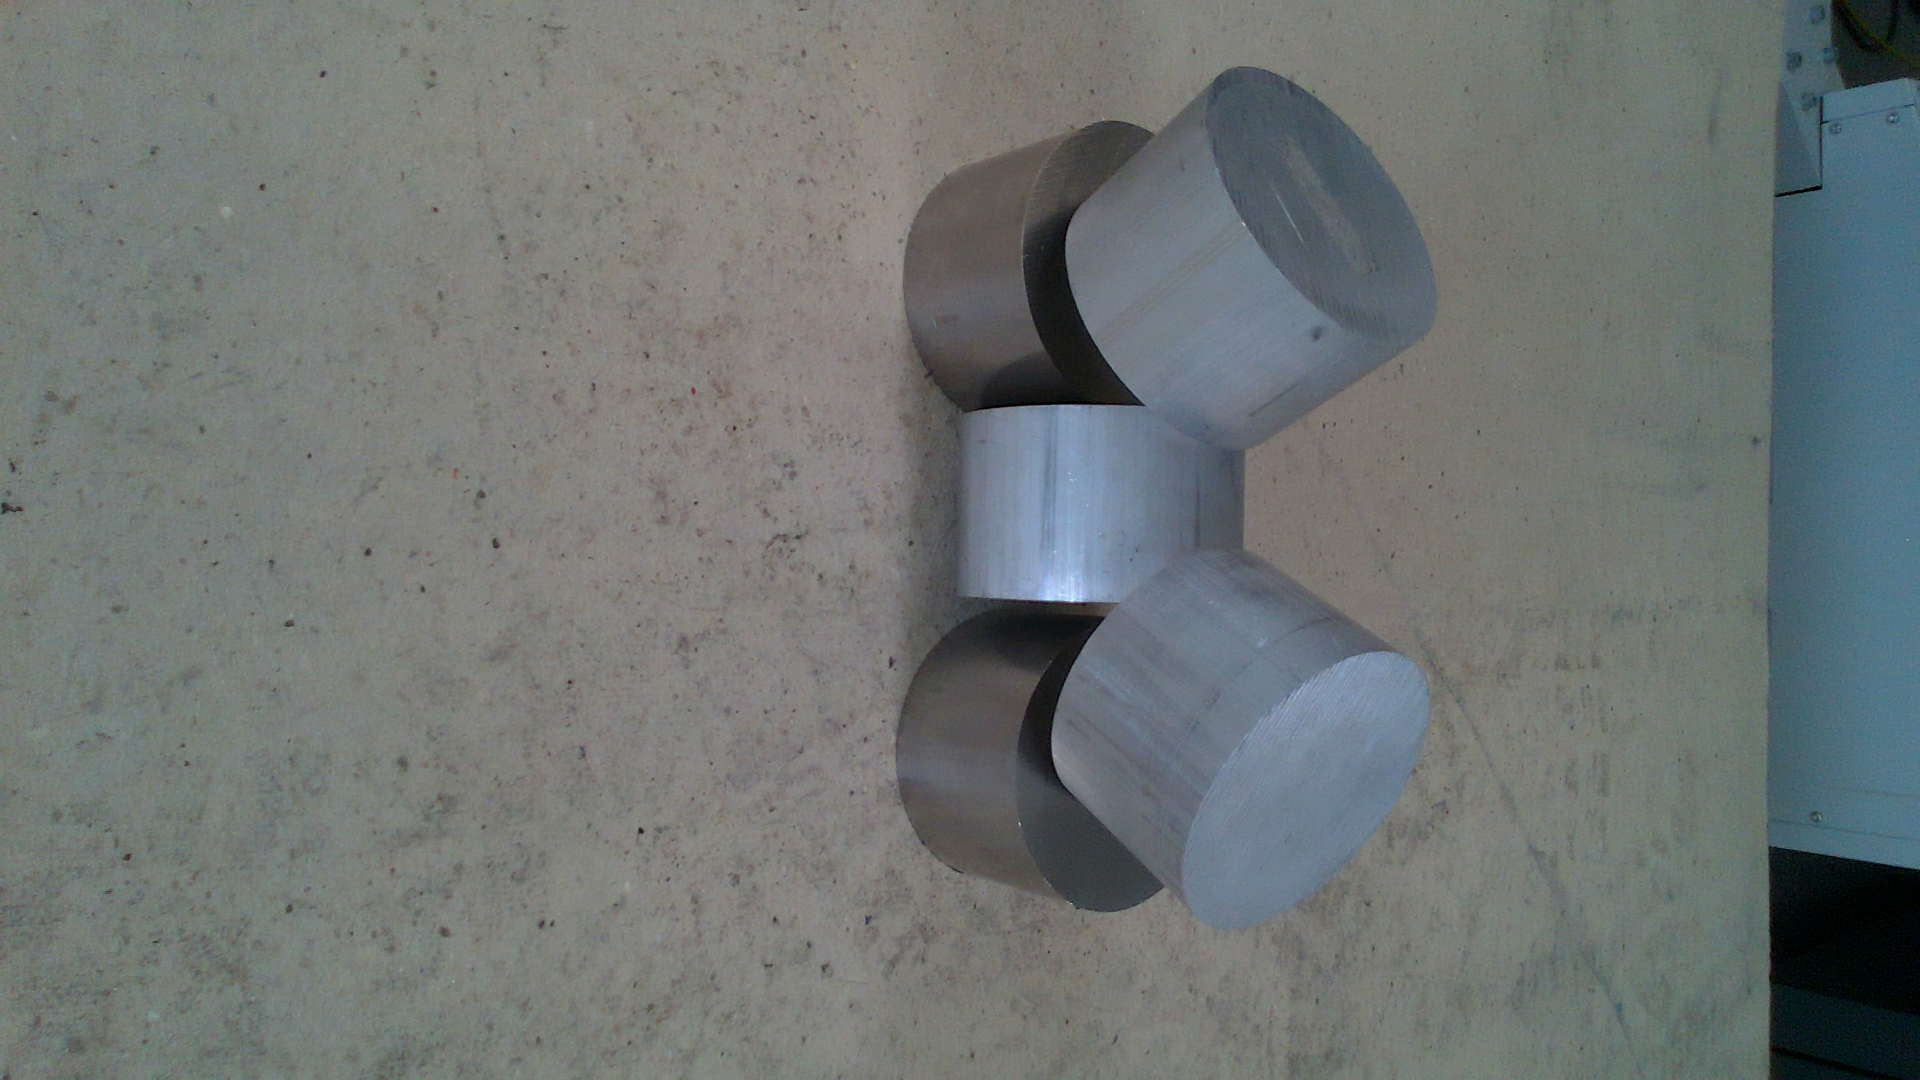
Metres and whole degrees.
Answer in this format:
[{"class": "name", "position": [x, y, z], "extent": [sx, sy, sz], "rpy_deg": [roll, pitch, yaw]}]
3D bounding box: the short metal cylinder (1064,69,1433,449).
[{"class": "short metal cylinder", "position": [0.073, -0.070, 0.350], "extent": [0.080, 0.050, 0.080], "rpy_deg": [21, 52, -30]}]

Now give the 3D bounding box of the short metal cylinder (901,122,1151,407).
[{"class": "short metal cylinder", "position": [0.030, -0.075, 0.398], "extent": [0.080, 0.050, 0.080], "rpy_deg": [0, 90, -40]}]

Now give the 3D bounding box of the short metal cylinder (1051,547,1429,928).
[{"class": "short metal cylinder", "position": [0.070, 0.049, 0.345], "extent": [0.080, 0.050, 0.080], "rpy_deg": [-20, 129, -27]}]

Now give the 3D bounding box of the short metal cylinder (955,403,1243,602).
[{"class": "short metal cylinder", "position": [0.039, -0.009, 0.387], "extent": [0.080, 0.080, 0.050], "rpy_deg": [2, 89, -40]}]

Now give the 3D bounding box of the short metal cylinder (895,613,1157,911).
[{"class": "short metal cylinder", "position": [0.028, 0.061, 0.397], "extent": [0.080, 0.050, 0.080], "rpy_deg": [0, 90, -40]}]
